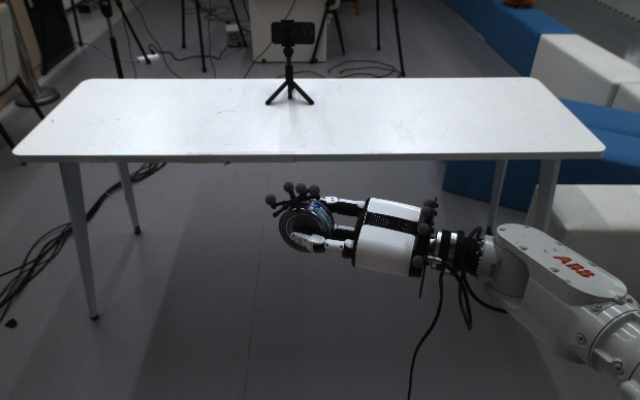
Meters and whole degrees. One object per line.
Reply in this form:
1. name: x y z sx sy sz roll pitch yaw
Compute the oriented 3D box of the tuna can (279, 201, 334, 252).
1. tuna can: -0.019 0.047 0.773 0.085 0.085 0.034 11 34 13
